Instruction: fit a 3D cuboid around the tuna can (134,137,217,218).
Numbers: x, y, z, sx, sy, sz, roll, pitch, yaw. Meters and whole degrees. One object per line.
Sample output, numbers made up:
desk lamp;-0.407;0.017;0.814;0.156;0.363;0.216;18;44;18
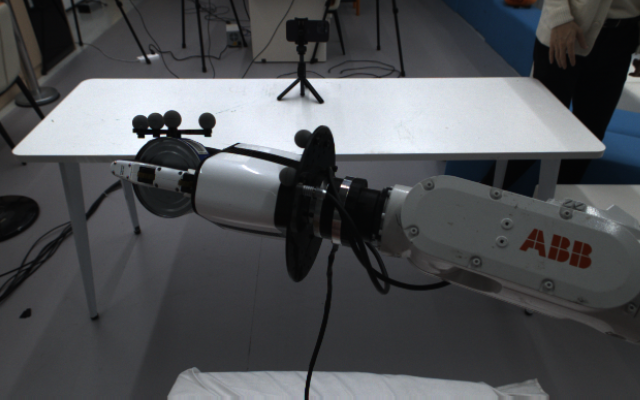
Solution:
tuna can;-0.154;-0.024;0.522;0.085;0.085;0.034;12;7;13
